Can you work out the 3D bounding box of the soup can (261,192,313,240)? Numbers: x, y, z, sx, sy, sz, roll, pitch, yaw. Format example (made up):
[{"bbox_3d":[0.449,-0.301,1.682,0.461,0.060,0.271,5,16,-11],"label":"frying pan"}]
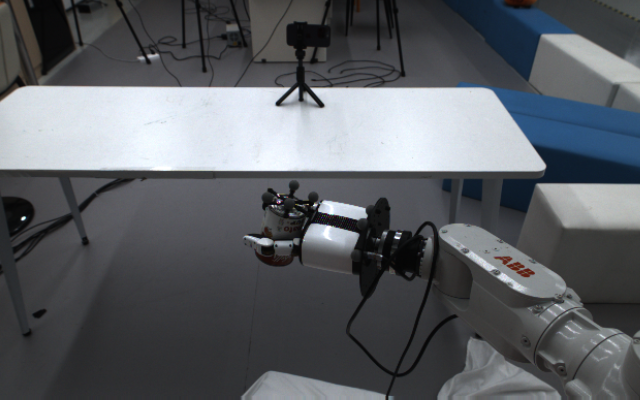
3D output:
[{"bbox_3d":[-0.064,0.050,0.792,0.067,0.101,0.067,13,31,-8],"label":"soup can"}]
